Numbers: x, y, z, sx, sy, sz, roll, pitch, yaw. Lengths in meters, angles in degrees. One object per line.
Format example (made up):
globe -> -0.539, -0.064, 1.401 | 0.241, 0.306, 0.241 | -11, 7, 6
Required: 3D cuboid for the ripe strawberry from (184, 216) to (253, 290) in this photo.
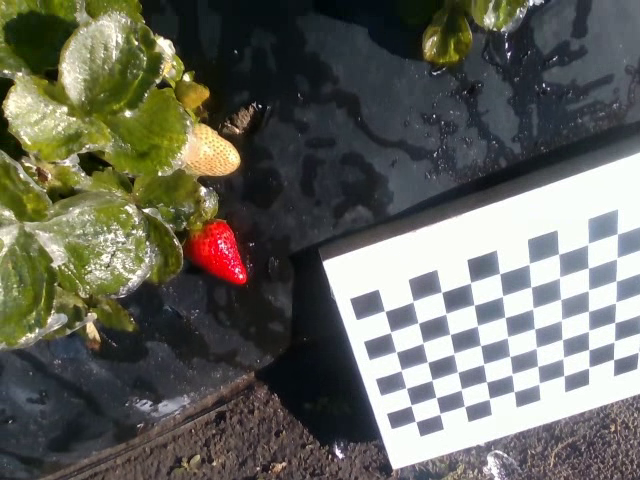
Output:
ripe strawberry -> -0.071, 0.017, 0.419 | 0.041, 0.052, 0.040 | -33, 25, 10
